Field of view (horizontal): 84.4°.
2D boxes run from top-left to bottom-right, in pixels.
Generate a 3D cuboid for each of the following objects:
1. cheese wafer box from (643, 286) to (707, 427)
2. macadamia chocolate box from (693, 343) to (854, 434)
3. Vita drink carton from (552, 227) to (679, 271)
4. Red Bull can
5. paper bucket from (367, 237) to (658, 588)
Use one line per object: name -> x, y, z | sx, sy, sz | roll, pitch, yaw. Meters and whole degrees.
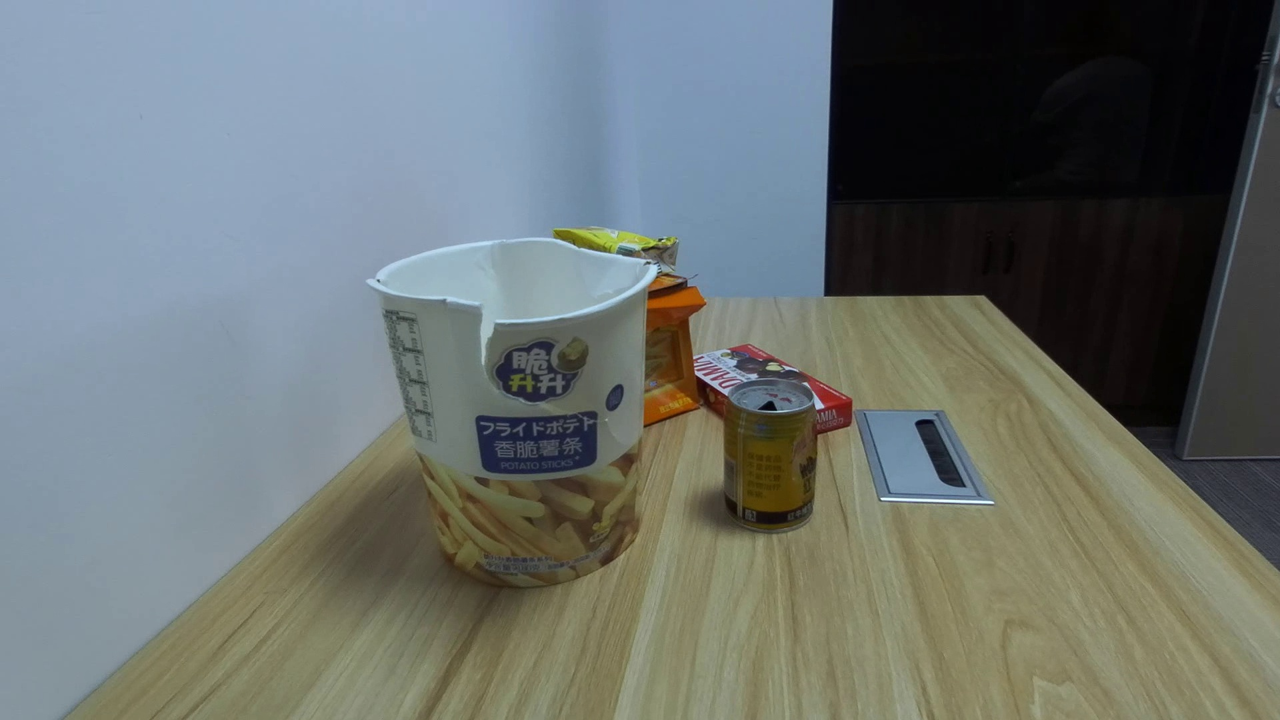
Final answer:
cheese wafer box -> -0.047, -0.026, 0.736 | 0.150, 0.137, 0.226 | -13, 21, -23
macadamia chocolate box -> 0.116, 0.030, 0.697 | 0.096, 0.027, 0.177 | -13, 23, -21
Vita drink carton -> -0.024, -0.103, 0.689 | 0.108, 0.042, 0.087 | 14, 18, 30
Red Bull can -> 0.093, 0.066, 0.507 | 0.068, 0.093, 0.068 | -3, 22, 1
paper bucket -> -0.076, 0.030, 0.480 | 0.201, 0.197, 0.146 | 15, 29, 40
